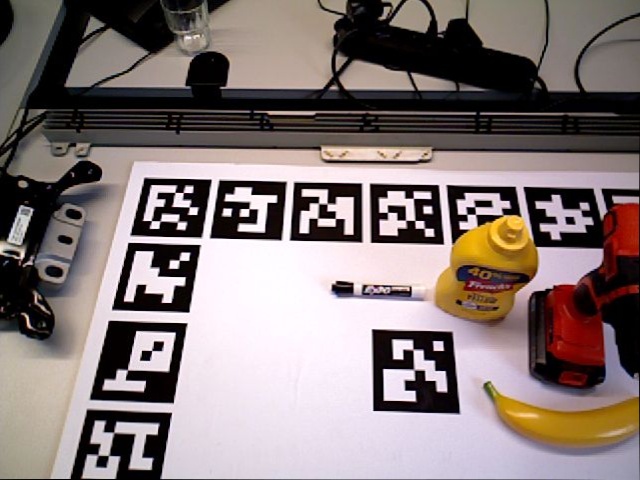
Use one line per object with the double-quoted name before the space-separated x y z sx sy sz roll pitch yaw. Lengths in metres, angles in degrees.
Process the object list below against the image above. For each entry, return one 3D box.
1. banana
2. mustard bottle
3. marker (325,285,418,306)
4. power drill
"banana" 0.282 0.217 0.624 0.197 0.039 0.073 8 63 7
"mustard bottle" 0.193 0.042 0.629 0.096 0.195 0.057 12 61 5
"marker" 0.067 0.073 0.714 0.121 0.020 0.019 4 62 3
"power drill" 0.296 0.093 0.580 0.057 0.191 0.181 15 59 6
